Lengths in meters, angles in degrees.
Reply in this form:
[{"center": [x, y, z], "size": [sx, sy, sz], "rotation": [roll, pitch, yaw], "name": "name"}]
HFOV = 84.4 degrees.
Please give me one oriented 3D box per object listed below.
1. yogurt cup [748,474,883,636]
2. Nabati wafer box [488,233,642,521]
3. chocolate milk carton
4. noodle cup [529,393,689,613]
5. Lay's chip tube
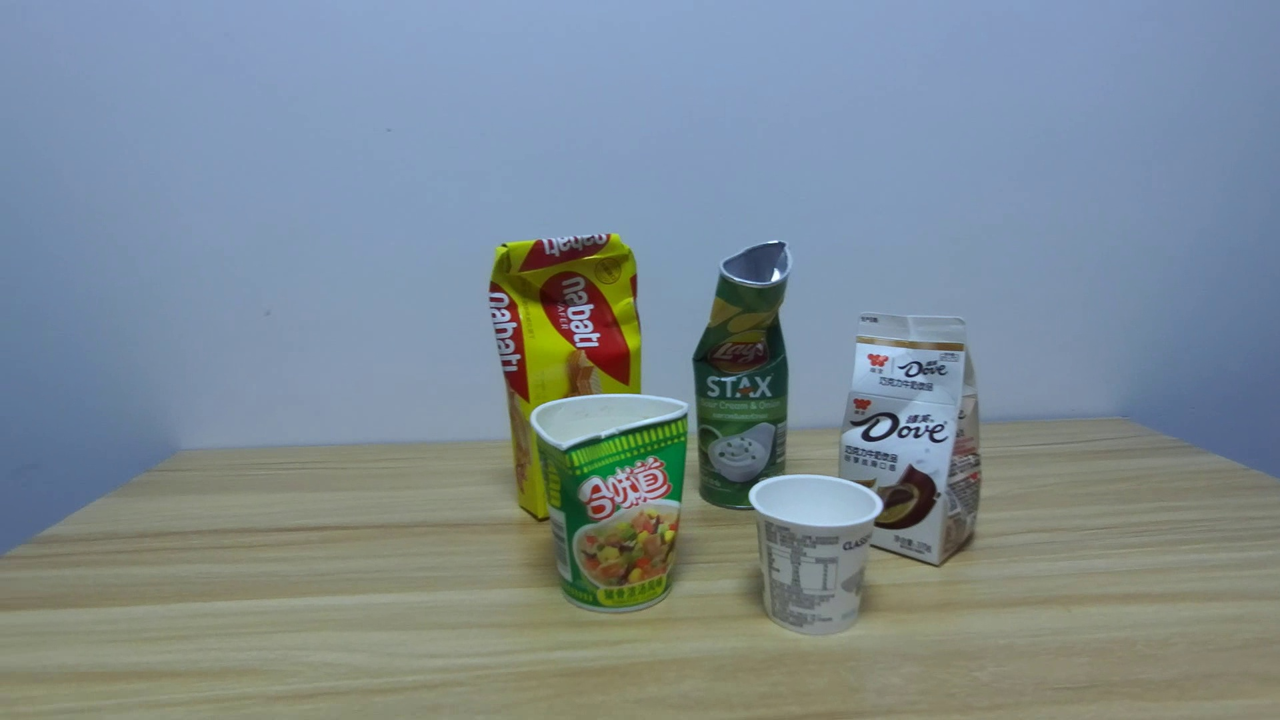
[{"center": [0.095, 0.108, 0.393], "size": [0.072, 0.068, 0.072], "rotation": [-1, 13, 1], "name": "yogurt cup"}, {"center": [-0.049, 0.012, 0.533], "size": [0.114, 0.205, 0.042], "rotation": [-9, 12, -30], "name": "Nabati wafer box"}, {"center": [0.185, 0.046, 0.475], "size": [0.084, 0.155, 0.073], "rotation": [10, 16, 39], "name": "chocolate milk carton"}, {"center": [-0.015, 0.083, 0.424], "size": [0.094, 0.109, 0.086], "rotation": [-6, 13, -17], "name": "noodle cup"}, {"center": [0.083, 0.015, 0.532], "size": [0.079, 0.199, 0.070], "rotation": [-8, 22, -20], "name": "Lay's chip tube"}]
